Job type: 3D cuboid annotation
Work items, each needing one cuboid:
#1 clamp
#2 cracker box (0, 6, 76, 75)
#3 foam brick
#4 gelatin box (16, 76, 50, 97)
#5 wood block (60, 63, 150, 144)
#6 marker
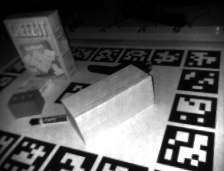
[{"bbox_3d":[0.009,-0.048,0.666,0.203,0.037,0.164,-16,40,0],"label":"clamp"},{"bbox_3d":[-0.230,-0.135,0.697,0.163,0.215,0.072,3,42,19],"label":"cracker box"},{"bbox_3d":[-0.253,0.051,0.622,0.078,0.052,0.052,-12,41,5],"label":"foam brick"},{"bbox_3d":[-0.258,0.003,0.700,0.088,0.030,0.073,5,45,23],"label":"gelatin box"},{"bbox_3d":[-0.016,0.037,0.538,0.207,0.092,0.088,-29,39,-20],"label":"wood block"},{"bbox_3d":[-0.180,0.090,0.577,0.120,0.020,0.019,-9,42,8],"label":"marker"}]
